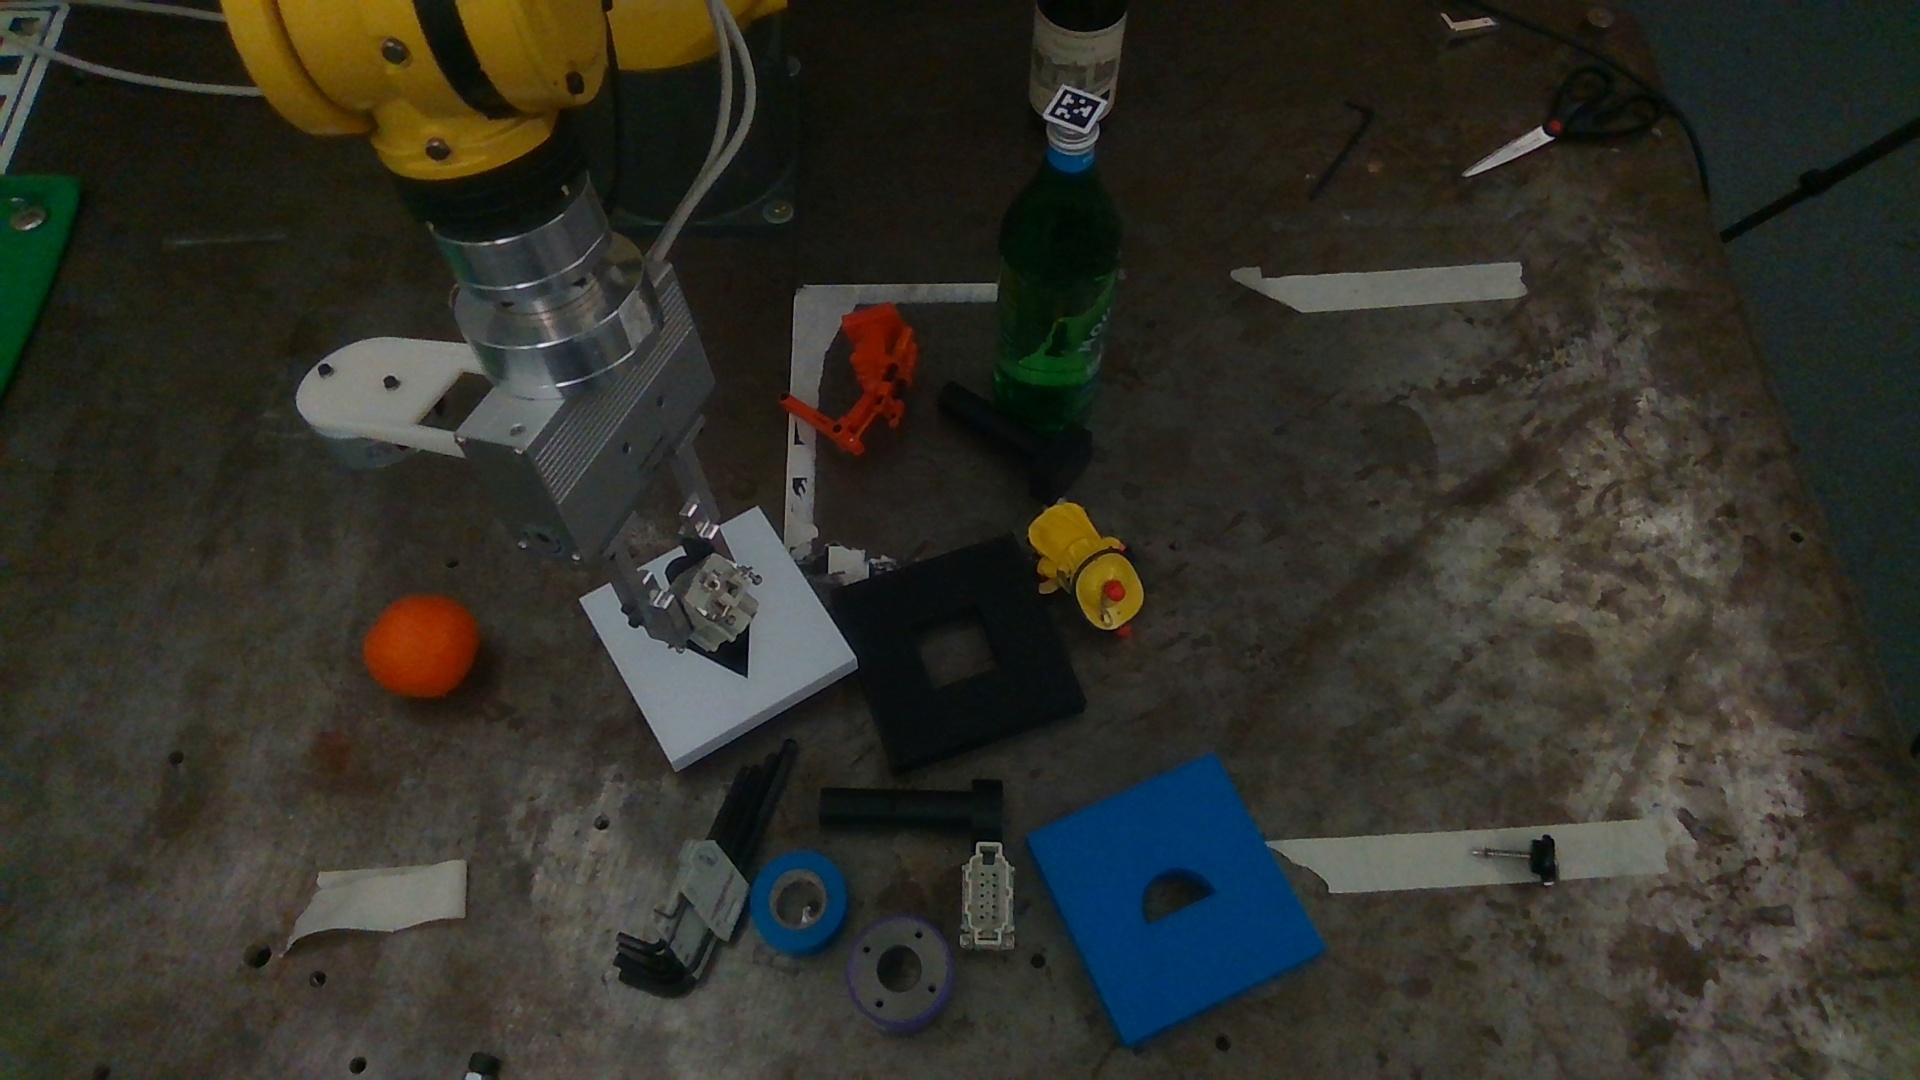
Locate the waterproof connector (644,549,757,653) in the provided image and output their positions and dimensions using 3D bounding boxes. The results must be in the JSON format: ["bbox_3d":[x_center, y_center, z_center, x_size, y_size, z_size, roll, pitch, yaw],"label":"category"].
[{"bbox_3d":[-0.135,0.034,0.731,0.038,0.069,0.036,38,53,-19],"label":"waterproof connector"}]
